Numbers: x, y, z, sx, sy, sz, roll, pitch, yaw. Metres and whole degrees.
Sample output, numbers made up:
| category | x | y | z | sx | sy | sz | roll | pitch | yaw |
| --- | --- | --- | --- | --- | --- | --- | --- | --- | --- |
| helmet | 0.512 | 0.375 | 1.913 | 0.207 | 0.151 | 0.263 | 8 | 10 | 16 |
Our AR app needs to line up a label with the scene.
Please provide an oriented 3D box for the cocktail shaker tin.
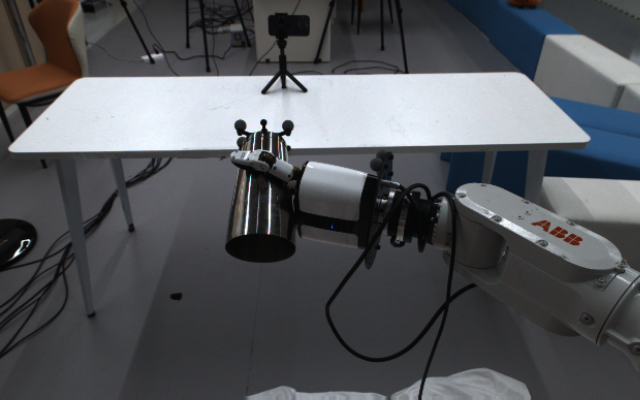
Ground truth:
| category | x | y | z | sx | sy | sz | roll | pitch | yaw |
| --- | --- | --- | --- | --- | --- | --- | --- | --- | --- |
| cocktail shaker tin | -0.080 | -0.009 | 0.668 | 0.093 | 0.093 | 0.170 | 0 | 59 | -3 |
